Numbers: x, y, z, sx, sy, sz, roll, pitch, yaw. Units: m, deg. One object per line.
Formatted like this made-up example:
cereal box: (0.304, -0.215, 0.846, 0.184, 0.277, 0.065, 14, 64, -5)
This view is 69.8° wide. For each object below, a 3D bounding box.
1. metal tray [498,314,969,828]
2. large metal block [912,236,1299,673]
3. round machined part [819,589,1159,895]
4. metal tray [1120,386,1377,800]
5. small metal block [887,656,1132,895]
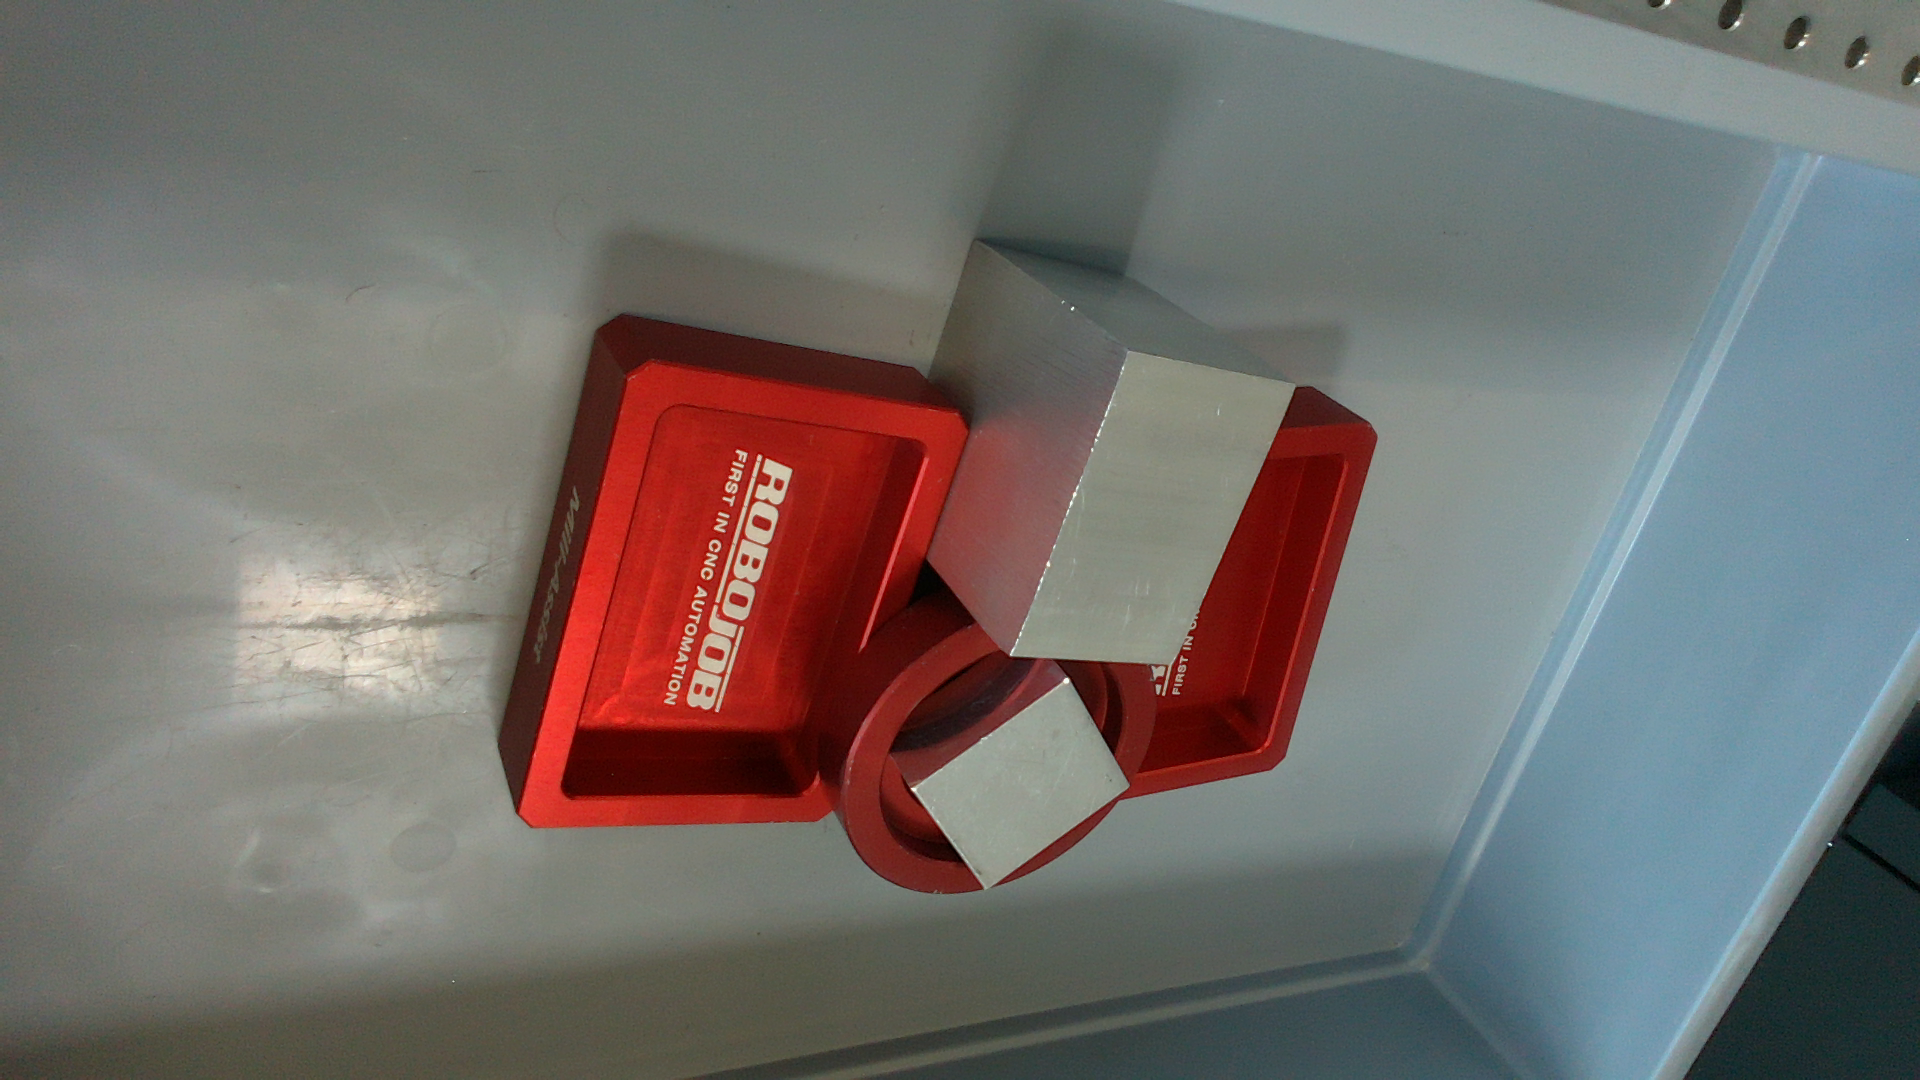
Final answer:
metal tray: (-0.061, 0.014, 0.359, 0.090, 0.030, 0.130, 6, 115, -31)
large metal block: (0.029, -0.023, 0.354, 0.050, 0.080, 0.080, 6, 115, -31)
round machined part: (0.005, 0.051, 0.398, 0.098, 0.042, 0.098, -14, 124, -21)
metal tray: (0.072, 0.019, 0.435, 0.090, 0.030, 0.130, -7, 121, -25)
small metal block: (0.013, 0.062, 0.378, 0.050, 0.025, 0.050, -34, 129, -6)
